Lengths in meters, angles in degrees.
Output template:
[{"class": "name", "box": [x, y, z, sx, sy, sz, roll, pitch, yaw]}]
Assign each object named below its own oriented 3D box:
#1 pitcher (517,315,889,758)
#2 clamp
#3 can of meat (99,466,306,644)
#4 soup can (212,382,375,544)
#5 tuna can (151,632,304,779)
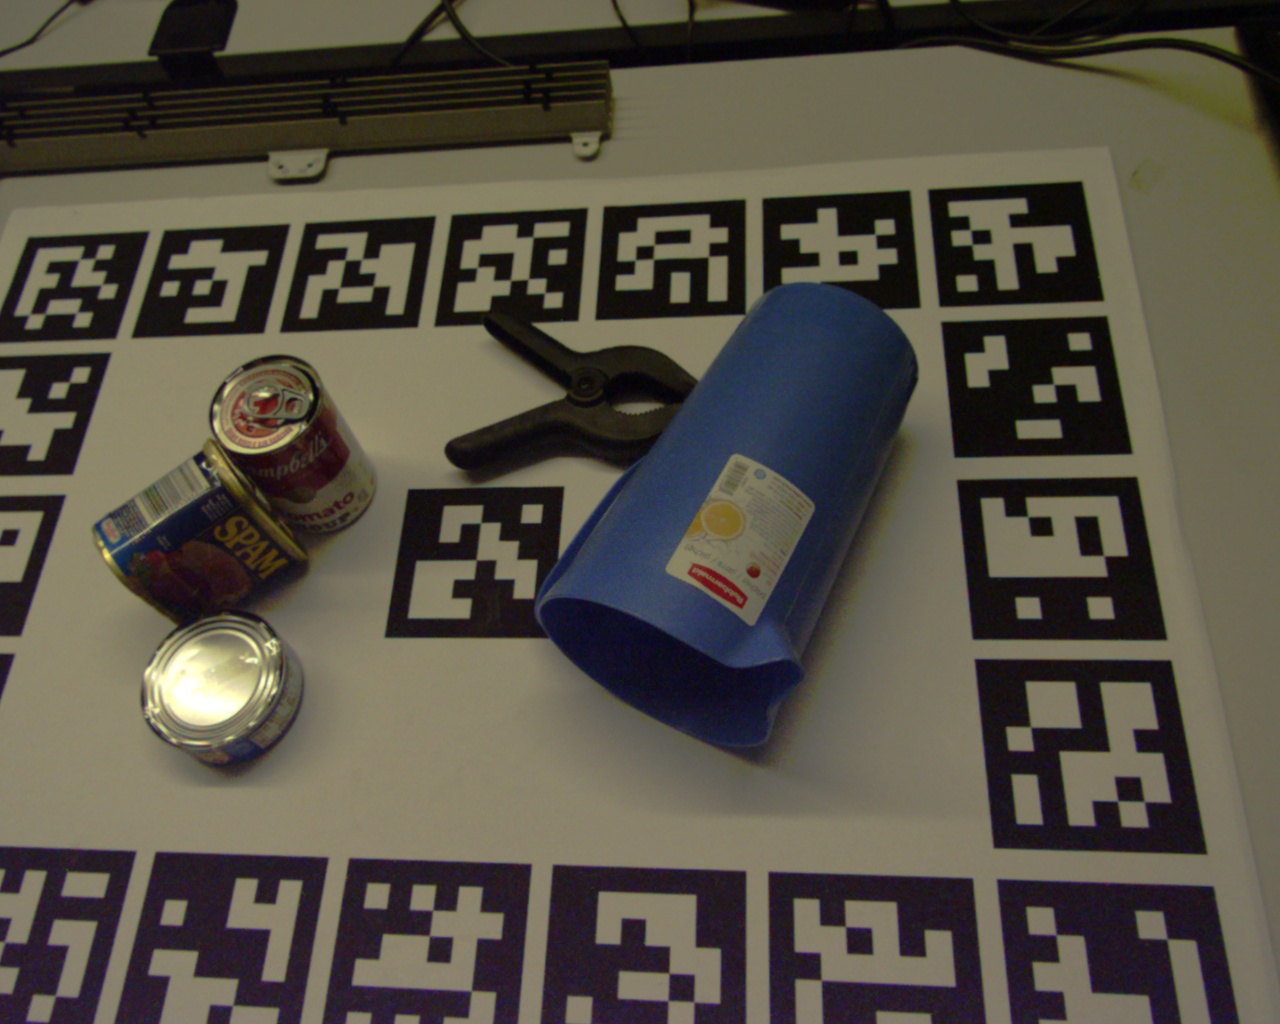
[{"class": "pitcher", "box": [0.042, 0.005, 0.657, 0.191, 0.132, 0.242, 8, 54, 36]}, {"class": "clamp", "box": [-0.058, -0.064, 0.777, 0.165, 0.036, 0.122, 2, 59, 6]}, {"class": "can of meat", "box": [-0.271, 0.031, 0.708, 0.083, 0.101, 0.058, -34, 64, -6]}, {"class": "soup can", "box": [-0.221, -0.029, 0.737, 0.068, 0.101, 0.068, -5, 64, 8]}, {"class": "tuna can", "box": [-0.252, 0.119, 0.700, 0.086, 0.033, 0.086, -4, 64, 7]}]
